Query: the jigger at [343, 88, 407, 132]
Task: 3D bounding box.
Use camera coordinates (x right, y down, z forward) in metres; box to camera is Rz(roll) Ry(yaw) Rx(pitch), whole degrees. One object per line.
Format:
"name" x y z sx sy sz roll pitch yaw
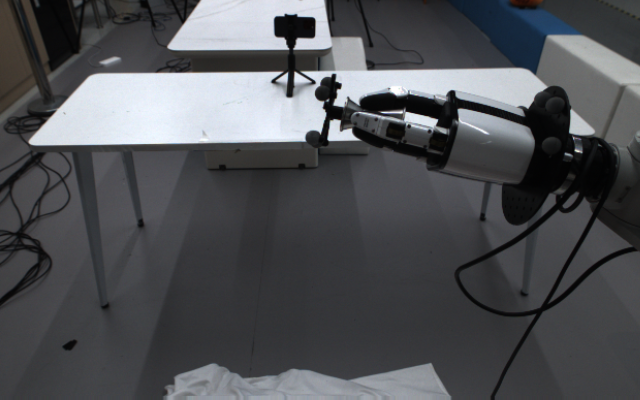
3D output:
"jigger" 0.063 -0.096 0.557 0.071 0.043 0.043 12 36 5
